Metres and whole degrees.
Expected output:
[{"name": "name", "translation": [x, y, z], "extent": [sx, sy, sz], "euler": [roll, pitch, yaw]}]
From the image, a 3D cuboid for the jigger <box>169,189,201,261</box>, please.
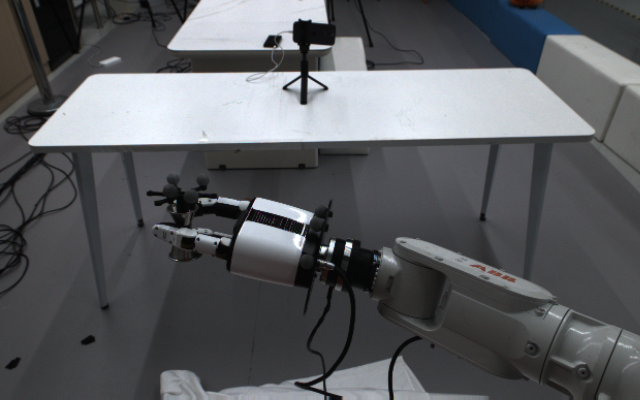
[{"name": "jigger", "translation": [-0.178, 0.040, 0.641], "extent": [0.043, 0.071, 0.043], "euler": [2, 20, -1]}]
